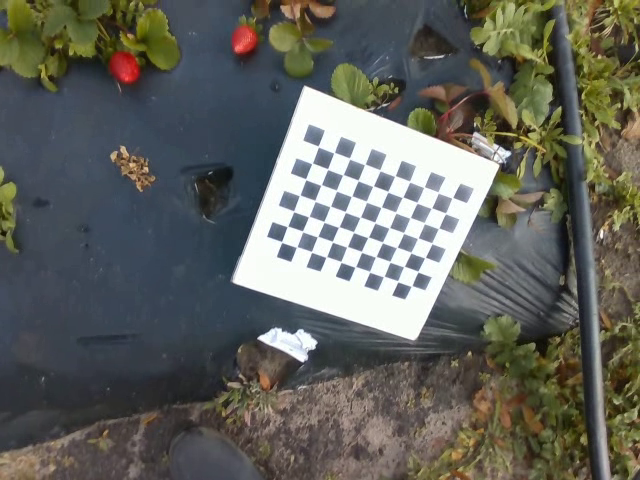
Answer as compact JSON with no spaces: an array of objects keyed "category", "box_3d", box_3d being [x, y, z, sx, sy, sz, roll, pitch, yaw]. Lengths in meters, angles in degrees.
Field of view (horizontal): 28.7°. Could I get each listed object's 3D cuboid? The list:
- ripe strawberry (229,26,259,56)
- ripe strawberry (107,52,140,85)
[{"category":"ripe strawberry","box_3d":[-0.100,-0.252,1.556,0.041,0.052,0.045,-15,-45,35]},{"category":"ripe strawberry","box_3d":[-0.244,-0.208,1.509,0.050,0.046,0.050,18,32,-33]}]
